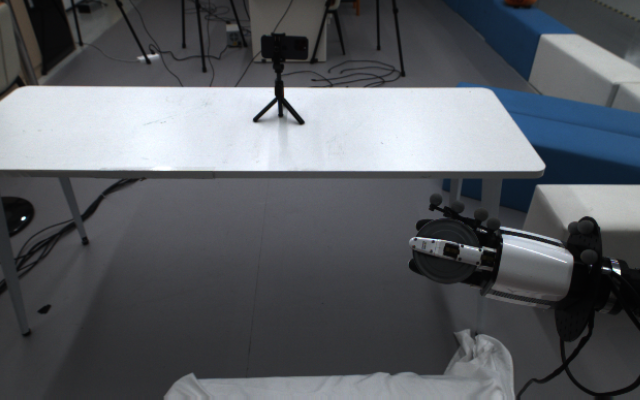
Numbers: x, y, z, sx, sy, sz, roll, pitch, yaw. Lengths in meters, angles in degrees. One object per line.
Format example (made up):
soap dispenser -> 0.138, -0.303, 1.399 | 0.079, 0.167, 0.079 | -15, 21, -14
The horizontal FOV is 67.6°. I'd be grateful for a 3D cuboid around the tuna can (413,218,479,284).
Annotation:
tuna can -> 0.169, 0.065, 0.640 | 0.085, 0.085, 0.034 | 14, -7, 16
